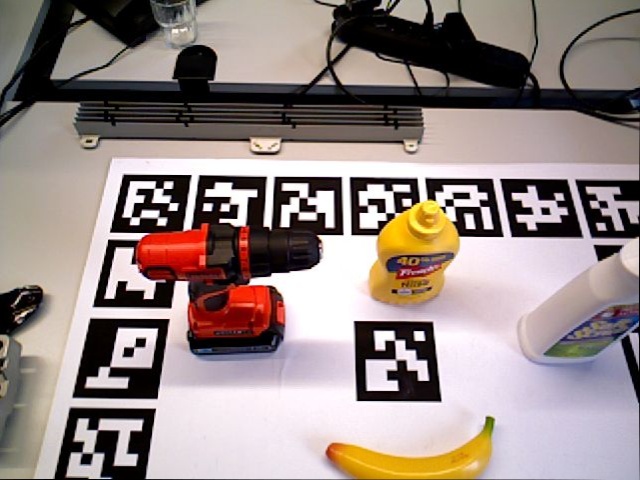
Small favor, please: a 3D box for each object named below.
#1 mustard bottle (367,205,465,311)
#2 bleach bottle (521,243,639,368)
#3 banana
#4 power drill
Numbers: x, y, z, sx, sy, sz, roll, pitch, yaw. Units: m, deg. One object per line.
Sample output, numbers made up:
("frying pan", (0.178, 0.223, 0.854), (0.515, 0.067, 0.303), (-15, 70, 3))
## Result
("mustard bottle", (0.114, 0.019, 0.623), (0.095, 0.195, 0.058), (-5, 60, -6))
("bleach bottle", (0.305, 0.063, 0.565), (0.102, 0.255, 0.067), (9, 60, 3))
("banana", (0.107, 0.238, 0.580), (0.196, 0.039, 0.073), (-5, 63, 0))
("power drill", (-0.073, 0.040, 0.574), (0.184, 0.190, 0.056), (-5, 60, 0))
